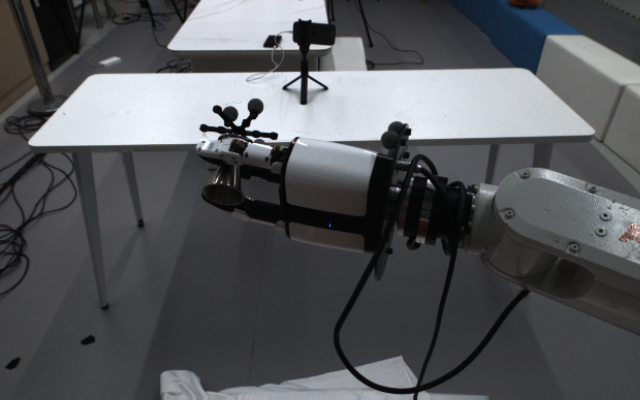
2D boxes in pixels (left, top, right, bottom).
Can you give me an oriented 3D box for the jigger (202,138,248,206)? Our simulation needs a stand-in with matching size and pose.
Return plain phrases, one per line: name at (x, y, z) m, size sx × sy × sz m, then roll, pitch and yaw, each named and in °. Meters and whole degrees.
jigger at (-0.101, -0.035, 0.528) m, size 0.043 × 0.043 × 0.071 m, roll 6°, pitch 60°, yaw 6°
